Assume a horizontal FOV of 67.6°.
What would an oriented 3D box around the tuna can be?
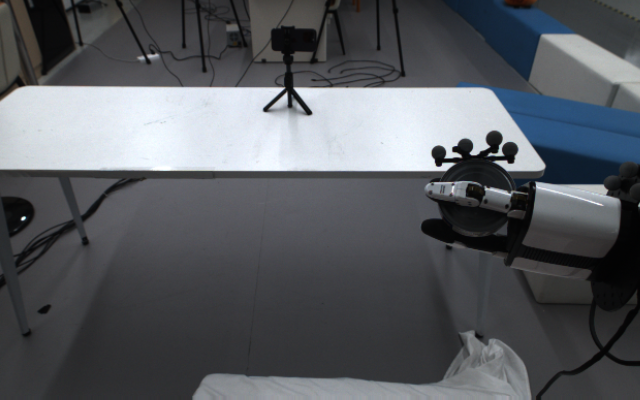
[{"bbox_3d":[0.178,-0.003,0.554,0.085,0.034,0.085,-5,70,15],"label":"tuna can"}]
